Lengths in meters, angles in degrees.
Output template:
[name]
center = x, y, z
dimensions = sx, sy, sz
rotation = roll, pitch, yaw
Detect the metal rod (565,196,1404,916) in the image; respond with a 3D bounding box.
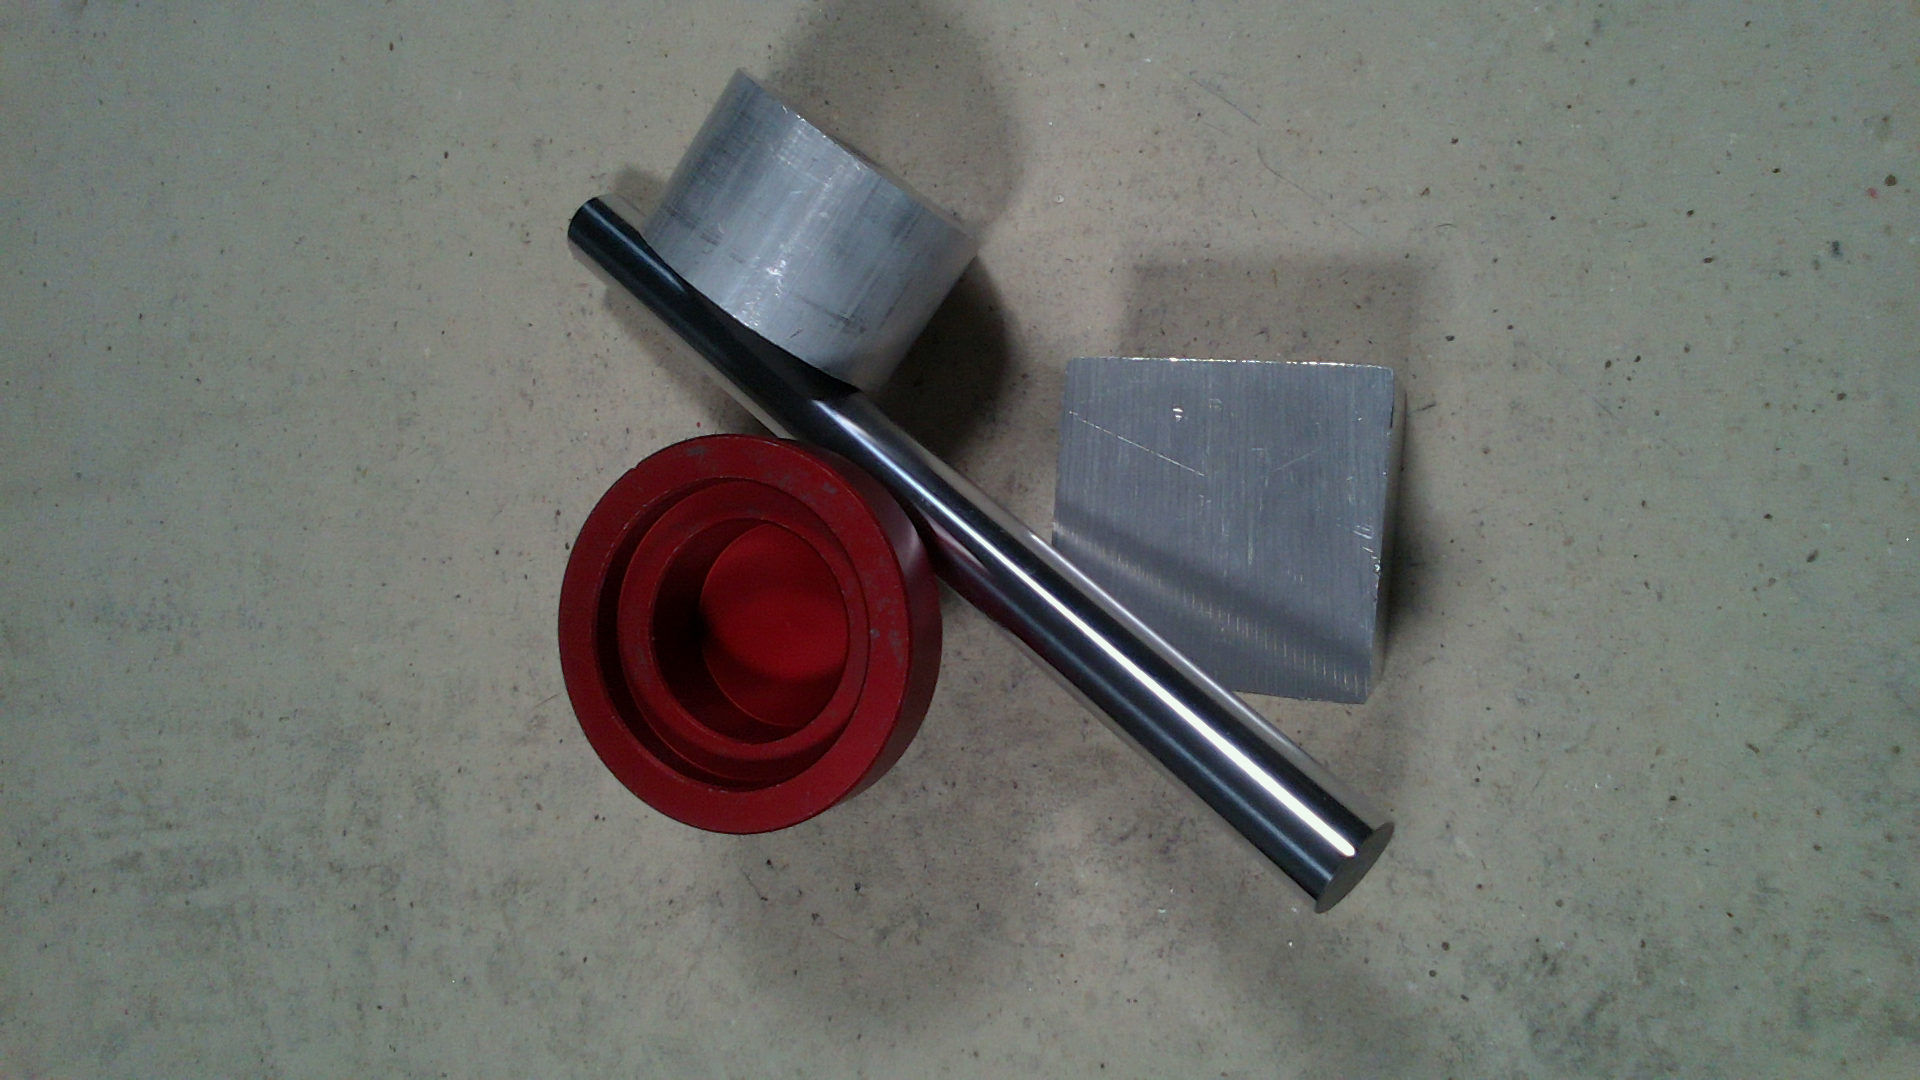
[metal rod]
center = -0.015, -0.014, 0.362
dimensions = 0.299, 0.025, 0.025
rotation = 40, 103, 30

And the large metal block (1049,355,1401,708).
[large metal block]
center = 0.070, -0.004, 0.358
dimensions = 0.080, 0.050, 0.080
rotation = 5, 92, 20

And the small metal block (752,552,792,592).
[small metal block]
center = -0.037, 0.011, 0.397
dimensions = 0.025, 0.050, 0.050
rotation = -2, 89, 20

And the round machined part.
[round machined part]
center = -0.050, 0.023, 0.352
dimensions = 0.098, 0.042, 0.098
rotation = 1, 92, 20

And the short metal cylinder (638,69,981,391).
[short metal cylinder]
center = -0.041, -0.085, 0.381
dimensions = 0.080, 0.080, 0.050
rotation = 39, 103, 16
